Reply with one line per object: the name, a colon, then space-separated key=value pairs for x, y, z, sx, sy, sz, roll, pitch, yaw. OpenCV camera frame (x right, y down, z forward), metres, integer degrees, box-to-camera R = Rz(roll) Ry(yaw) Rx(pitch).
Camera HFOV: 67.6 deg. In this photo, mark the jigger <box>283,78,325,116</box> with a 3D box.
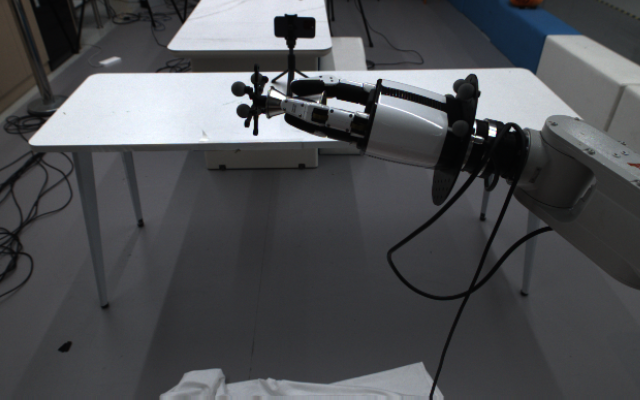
jigger: x=-0.025 y=-0.122 z=0.599 sx=0.071 sy=0.043 sz=0.043 roll=7 pitch=35 yaw=7
